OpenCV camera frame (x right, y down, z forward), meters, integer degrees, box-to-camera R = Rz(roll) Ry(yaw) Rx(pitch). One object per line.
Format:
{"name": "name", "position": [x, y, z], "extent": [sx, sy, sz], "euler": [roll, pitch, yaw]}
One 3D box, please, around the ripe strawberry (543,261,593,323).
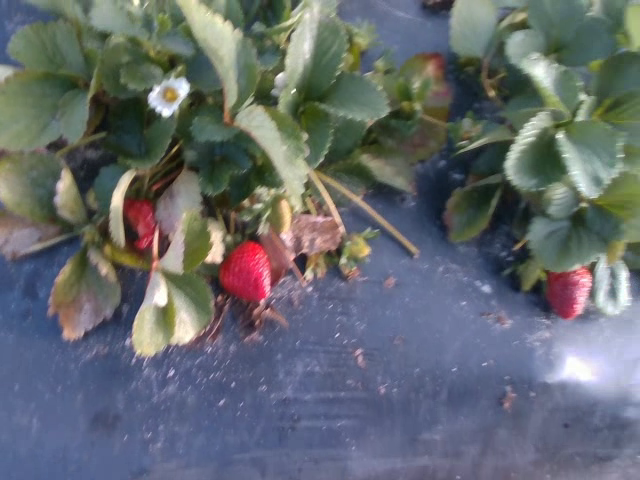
{"name": "ripe strawberry", "position": [0.136, 0.031, 0.336], "extent": [0.029, 0.036, 0.021], "euler": [2, -12, -5]}

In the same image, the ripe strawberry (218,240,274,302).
{"name": "ripe strawberry", "position": [-0.035, 0.019, 0.301], "extent": [0.031, 0.030, 0.026], "euler": [-37, -17, -11]}
